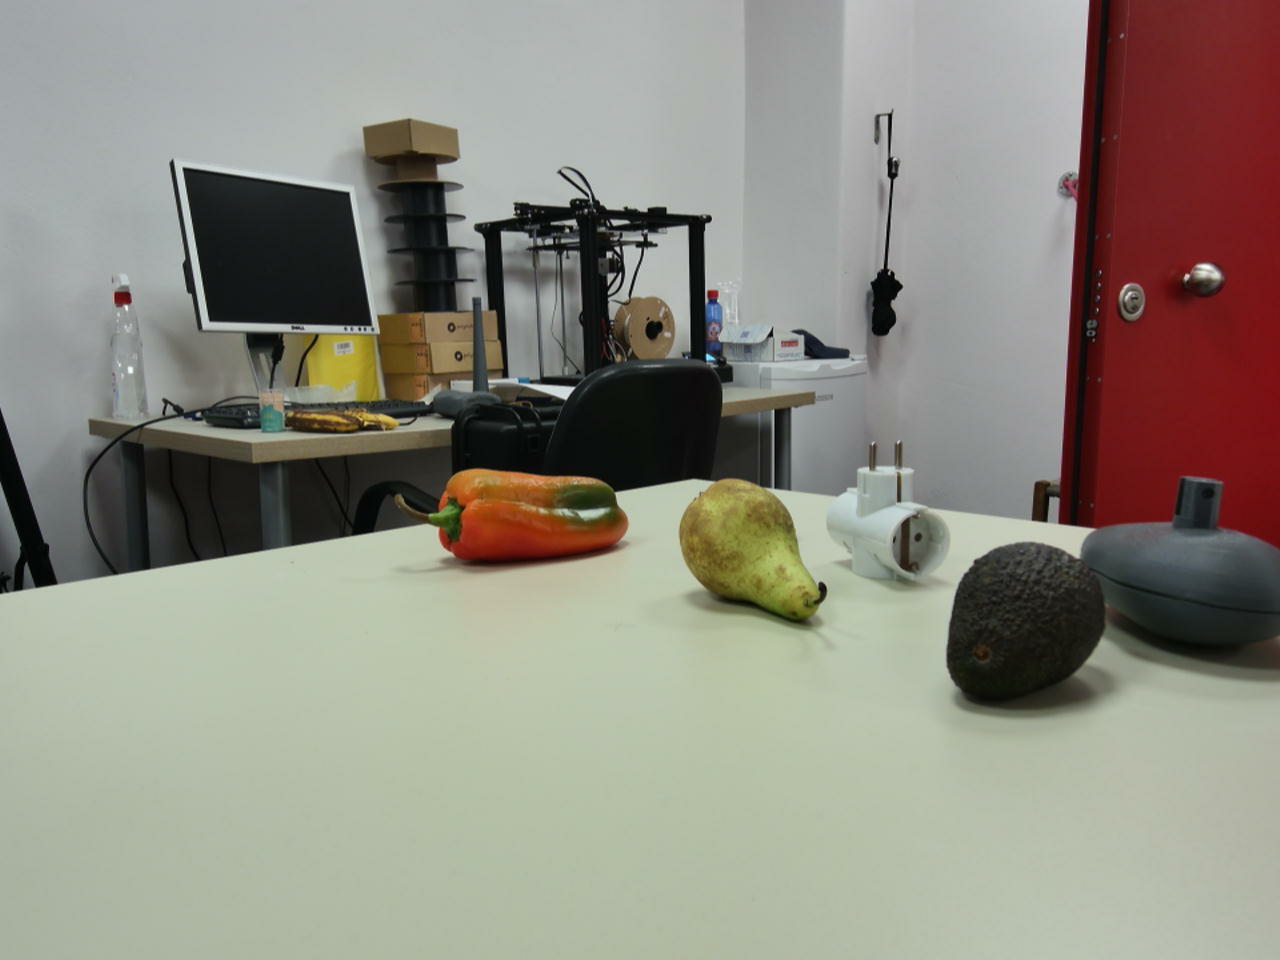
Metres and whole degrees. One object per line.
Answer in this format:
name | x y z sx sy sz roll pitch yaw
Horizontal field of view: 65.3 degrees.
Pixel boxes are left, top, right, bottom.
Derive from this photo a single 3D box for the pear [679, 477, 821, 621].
pear | 0.081 0.041 0.607 0.071 0.075 0.144 -4 9 -36
